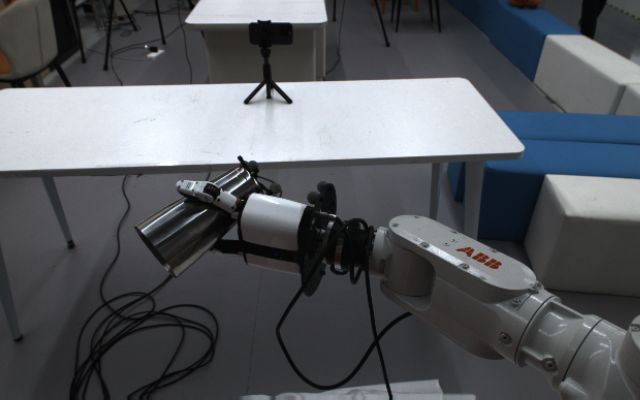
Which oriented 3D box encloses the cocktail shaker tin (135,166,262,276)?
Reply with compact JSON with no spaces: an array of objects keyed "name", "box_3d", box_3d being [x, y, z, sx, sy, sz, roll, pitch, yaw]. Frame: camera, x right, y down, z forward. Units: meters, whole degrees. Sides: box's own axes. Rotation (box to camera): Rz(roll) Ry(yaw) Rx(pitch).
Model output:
[{"name":"cocktail shaker tin","box_3d":[-0.168,0.020,0.702,0.170,0.093,0.093,-38,49,-23]}]
